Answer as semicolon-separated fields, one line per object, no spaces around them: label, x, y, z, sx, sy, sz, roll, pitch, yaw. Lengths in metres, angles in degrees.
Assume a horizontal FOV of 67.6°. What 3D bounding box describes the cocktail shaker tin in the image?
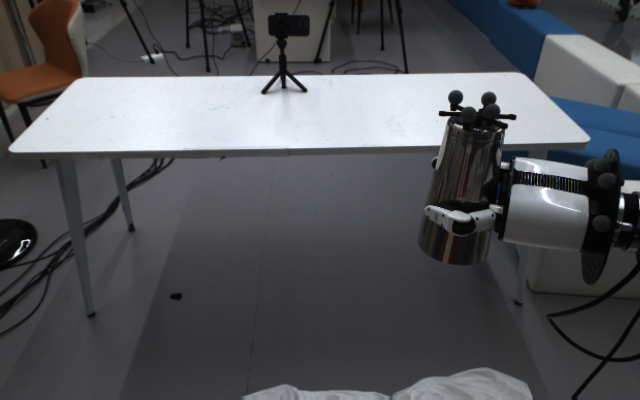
cocktail shaker tin;0.181;-0.017;0.604;0.093;0.170;0.093;2;28;-1
